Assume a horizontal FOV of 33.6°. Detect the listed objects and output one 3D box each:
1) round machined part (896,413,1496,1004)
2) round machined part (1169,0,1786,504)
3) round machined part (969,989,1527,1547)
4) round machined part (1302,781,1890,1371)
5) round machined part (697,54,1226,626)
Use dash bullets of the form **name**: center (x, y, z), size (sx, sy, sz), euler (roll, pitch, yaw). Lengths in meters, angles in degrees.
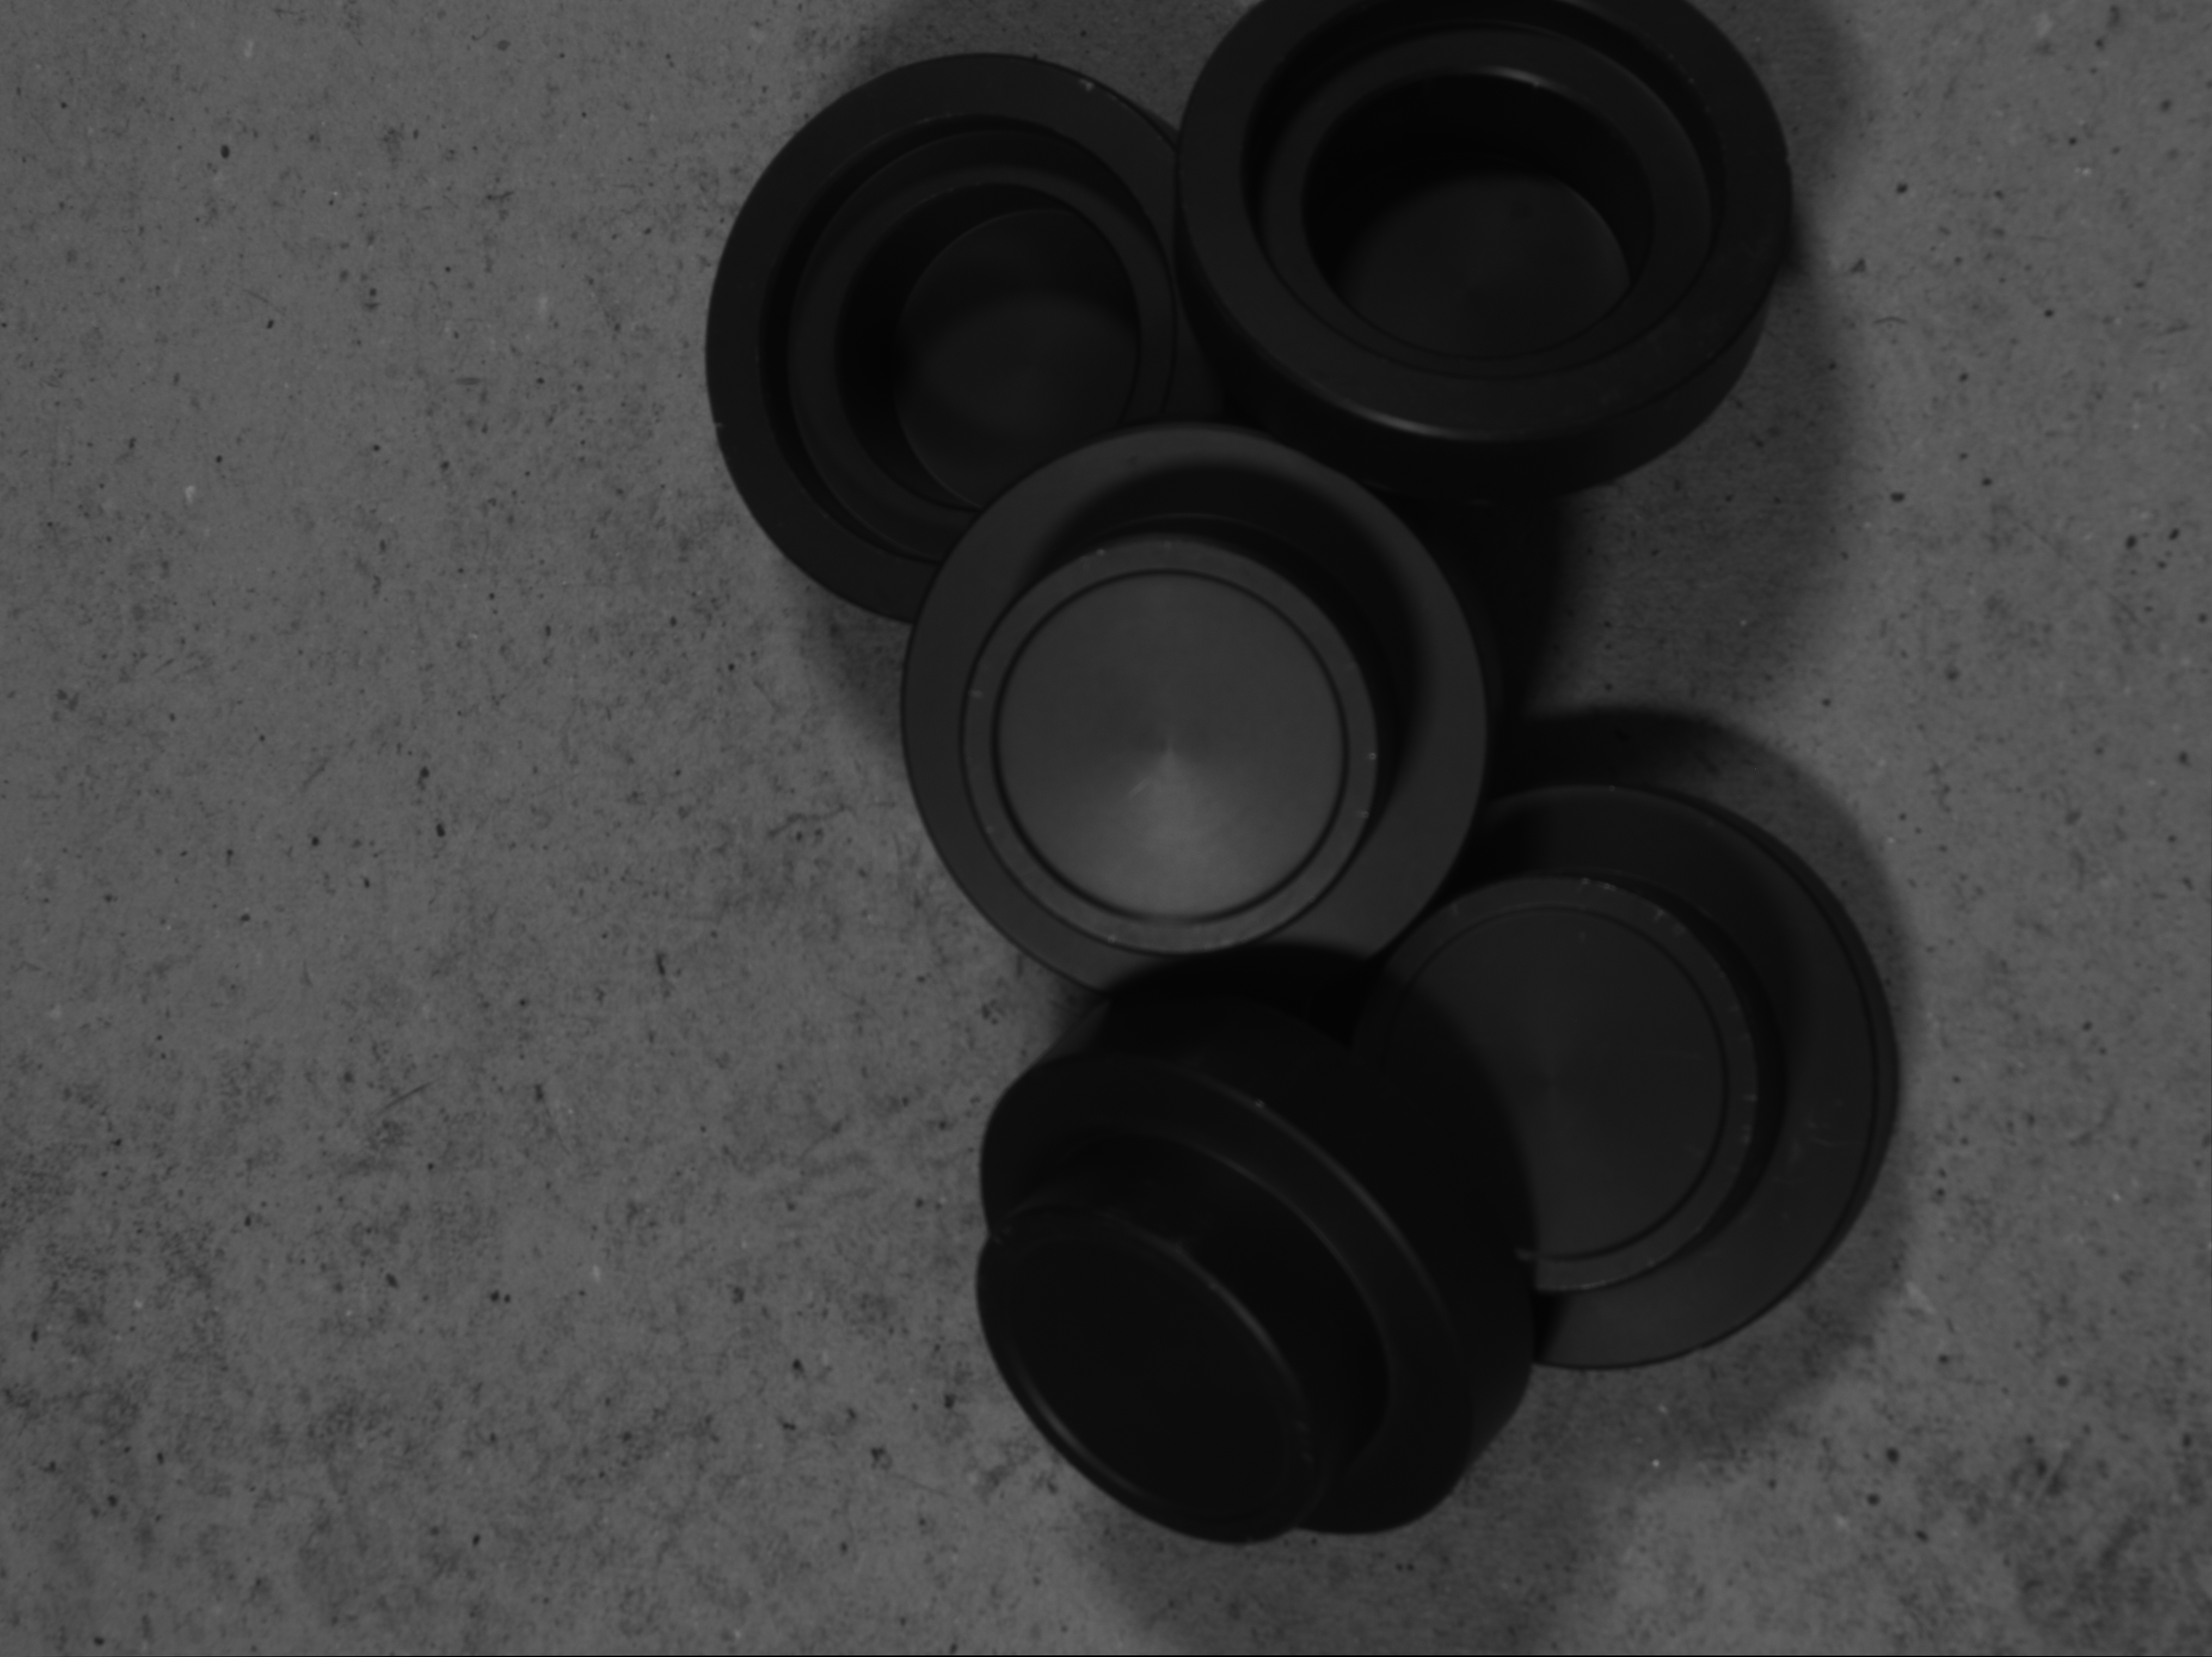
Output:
- **round machined part**: center (0.013, -0.017, 0.596), size (0.098, 0.042, 0.098), euler (2, 101, 11)
- **round machined part**: center (0.059, -0.095, 0.600), size (0.098, 0.042, 0.098), euler (0, 65, 0)
- **round machined part**: center (0.017, 0.078, 0.602), size (0.098, 0.042, 0.098), euler (24, 136, 27)
- **round machined part**: center (0.078, 0.041, 0.607), size (0.098, 0.042, 0.098), euler (0, 90, 20)
- **round machined part**: center (-0.019, -0.083, 0.642), size (0.098, 0.042, 0.098), euler (0, 90, 20)
